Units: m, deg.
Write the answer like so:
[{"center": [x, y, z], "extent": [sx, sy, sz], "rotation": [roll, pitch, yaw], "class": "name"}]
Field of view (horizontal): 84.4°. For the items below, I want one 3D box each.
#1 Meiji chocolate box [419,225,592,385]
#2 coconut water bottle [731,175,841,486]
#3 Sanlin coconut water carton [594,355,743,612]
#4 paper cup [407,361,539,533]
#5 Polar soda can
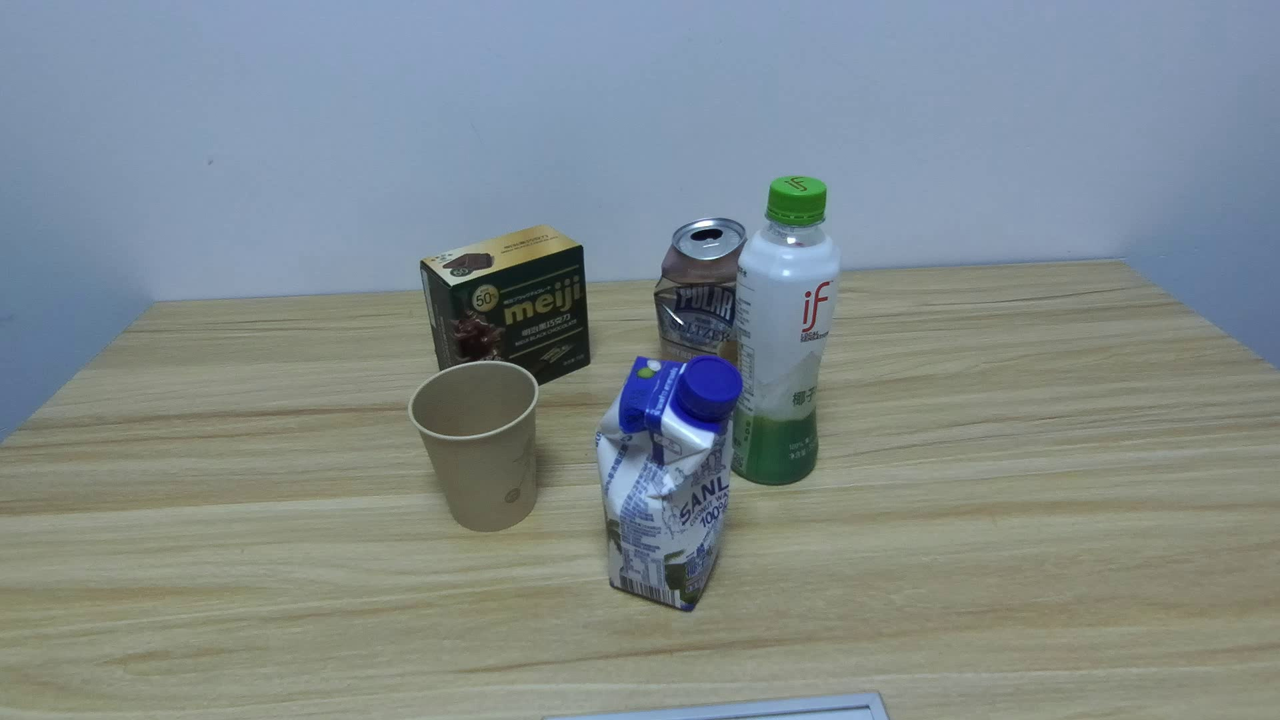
[{"center": [-0.098, -0.033, 0.537], "extent": [0.110, 0.109, 0.056], "rotation": [-23, 39, -30], "class": "Meiji chocolate box"}, {"center": [0.086, -0.013, 0.424], "extent": [0.063, 0.189, 0.063], "rotation": [-1, 33, 1], "class": "coconut water bottle"}, {"center": [0.013, 0.060, 0.360], "extent": [0.069, 0.144, 0.061], "rotation": [13, 37, 19], "class": "Sanlin coconut water carton"}, {"center": [-0.094, 0.055, 0.427], "extent": [0.075, 0.082, 0.075], "rotation": [-1, 33, 1], "class": "paper cup"}, {"center": [0.048, -0.041, 0.532], "extent": [0.071, 0.122, 0.066], "rotation": [-11, 40, -14], "class": "Polar soda can"}]
